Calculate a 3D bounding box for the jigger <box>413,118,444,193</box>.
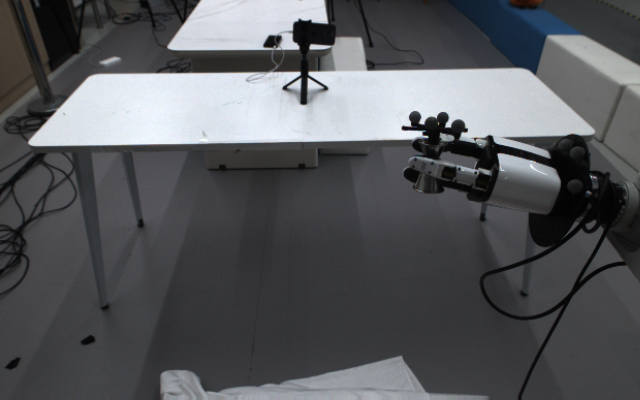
[{"bbox_3d":[0.152,-0.050,0.675,0.043,0.071,0.043,1,20,0],"label":"jigger"}]
